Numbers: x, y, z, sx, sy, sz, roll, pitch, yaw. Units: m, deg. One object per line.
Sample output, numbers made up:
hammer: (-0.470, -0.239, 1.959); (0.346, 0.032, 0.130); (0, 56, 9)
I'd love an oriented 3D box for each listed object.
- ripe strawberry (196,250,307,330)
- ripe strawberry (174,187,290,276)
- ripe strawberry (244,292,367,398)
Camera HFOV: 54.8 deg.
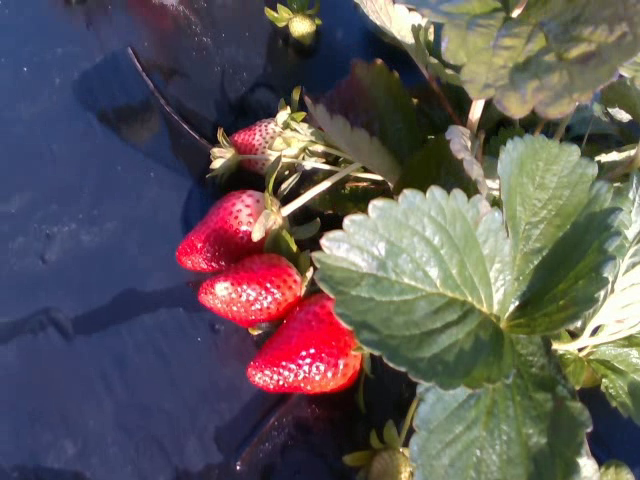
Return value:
ripe strawberry: (-0.025, 0.016, 0.212); (0.039, 0.030, 0.037); (5, -35, -42)
ripe strawberry: (-0.037, -0.003, 0.232); (0.046, 0.031, 0.023); (-30, -27, -3)
ripe strawberry: (-0.010, 0.039, 0.203); (0.041, 0.035, 0.033); (-14, -35, -36)
